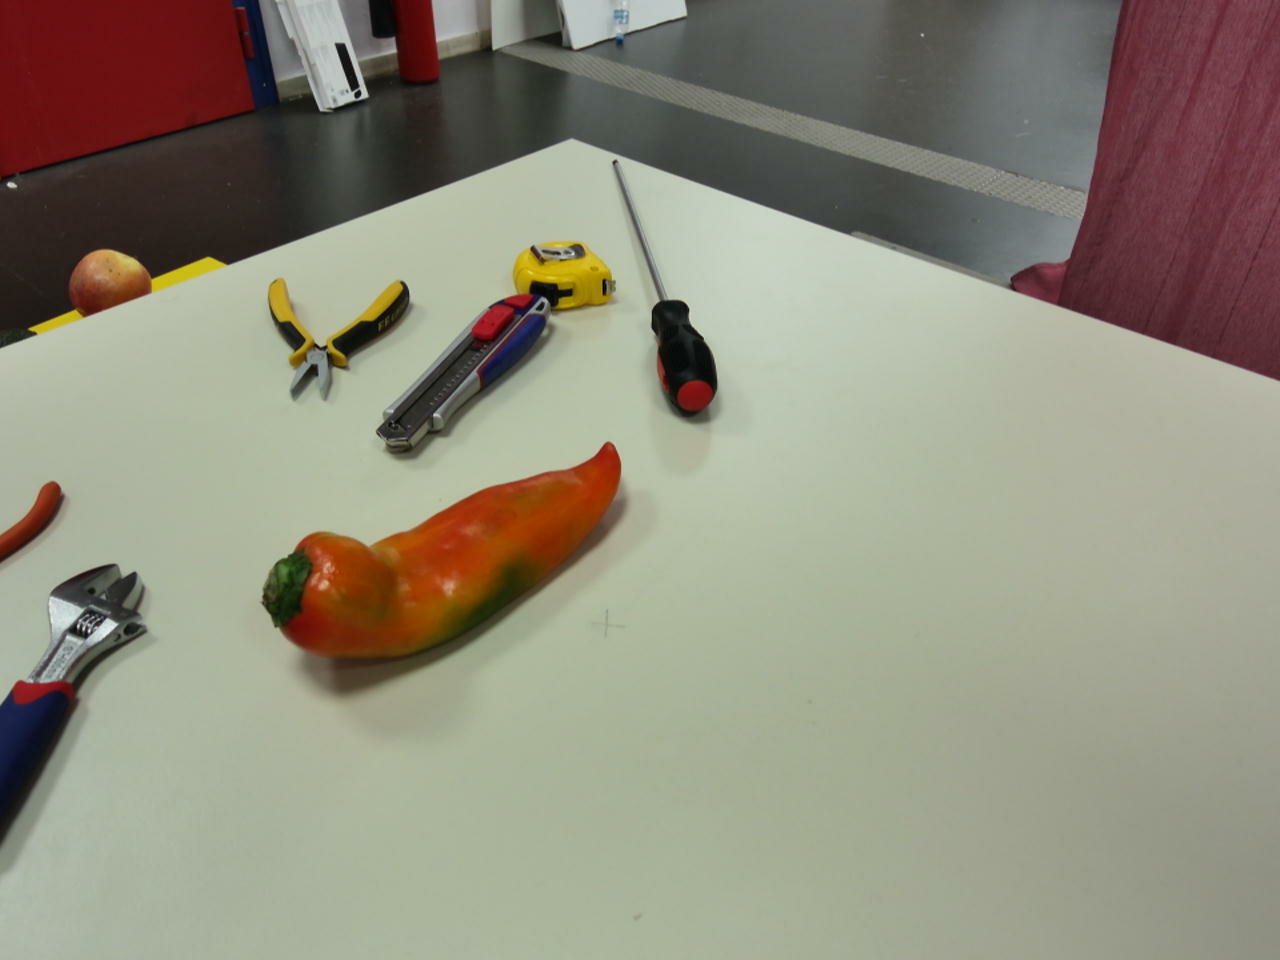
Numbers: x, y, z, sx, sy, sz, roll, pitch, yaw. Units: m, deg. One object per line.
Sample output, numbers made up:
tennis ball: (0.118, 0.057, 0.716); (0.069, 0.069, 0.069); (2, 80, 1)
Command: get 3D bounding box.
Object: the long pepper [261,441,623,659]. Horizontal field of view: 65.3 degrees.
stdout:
long pepper: (-0.079, 0.023, 0.469); (0.199, 0.065, 0.066); (-30, 47, -35)
